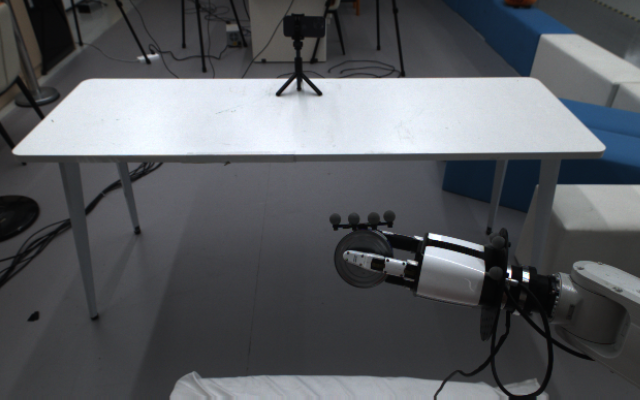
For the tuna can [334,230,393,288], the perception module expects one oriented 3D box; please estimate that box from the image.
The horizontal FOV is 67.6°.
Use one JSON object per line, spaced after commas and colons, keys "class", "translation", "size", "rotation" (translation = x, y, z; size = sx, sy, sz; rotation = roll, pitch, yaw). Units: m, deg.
{"class": "tuna can", "translation": [0.067, 0.084, 0.709], "size": [0.085, 0.085, 0.034], "rotation": [10, 2, 12]}
